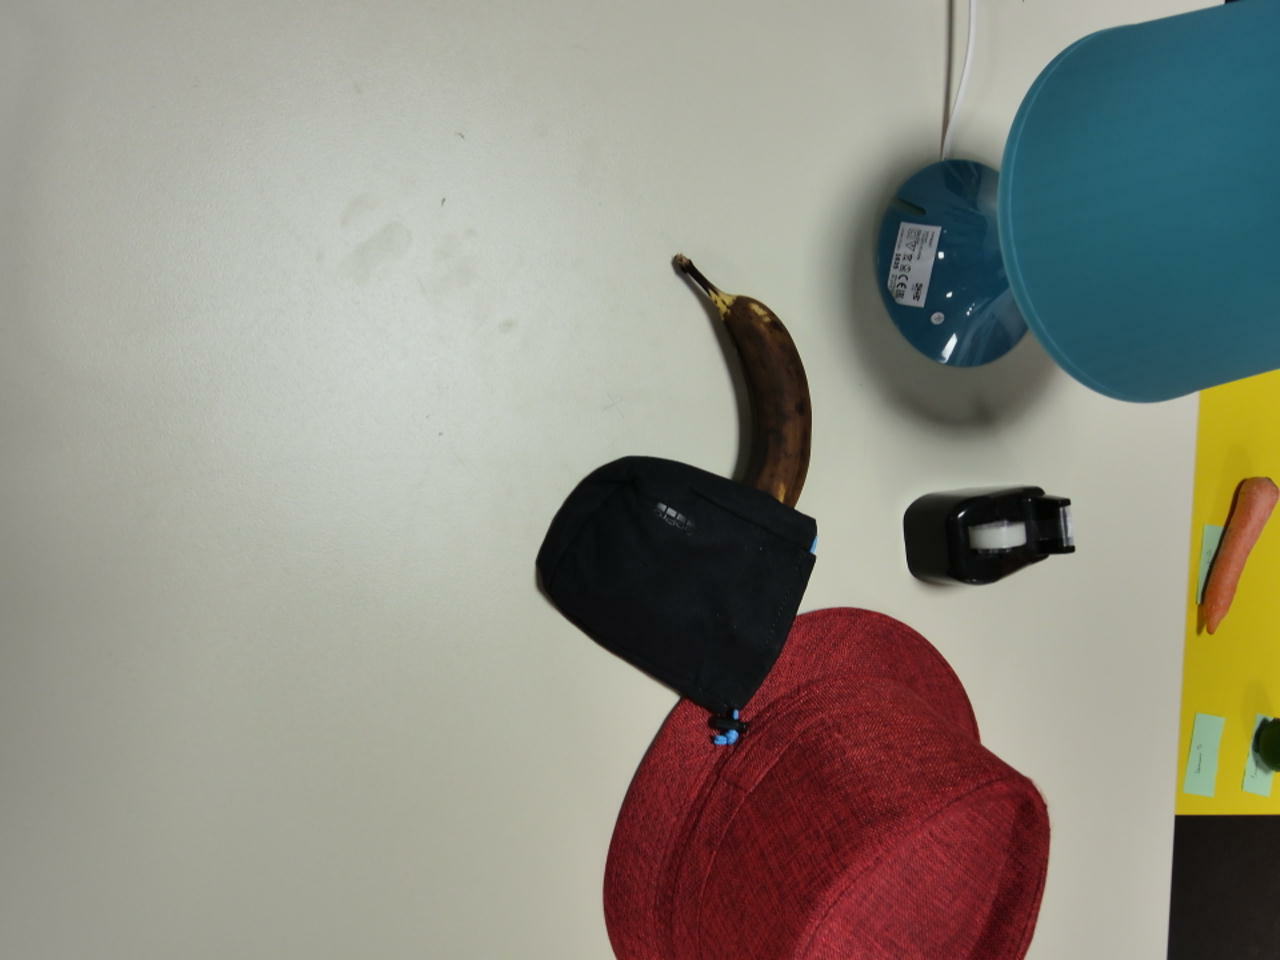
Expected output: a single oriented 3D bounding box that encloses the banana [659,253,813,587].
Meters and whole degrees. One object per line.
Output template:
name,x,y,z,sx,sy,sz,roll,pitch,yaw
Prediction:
banana,0.059,-0.031,0.575,0.091,0.034,0.188,6,88,-22
